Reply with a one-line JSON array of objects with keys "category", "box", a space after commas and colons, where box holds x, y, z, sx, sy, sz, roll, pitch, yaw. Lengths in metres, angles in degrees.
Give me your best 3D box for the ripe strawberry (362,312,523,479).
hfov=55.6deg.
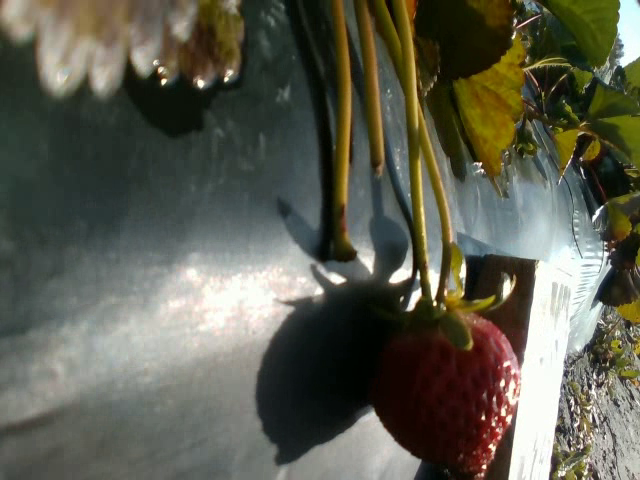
[{"category": "ripe strawberry", "box": [0.031, 0.036, 0.136, 0.036, 0.044, 0.040, -6, 11, 30]}]
